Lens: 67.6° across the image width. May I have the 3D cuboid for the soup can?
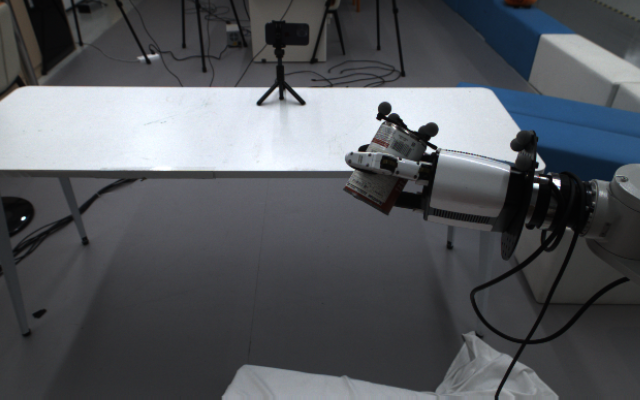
[{"bbox_3d":[0.083,-0.041,0.622,0.067,0.101,0.067,30,1,-1],"label":"soup can"}]
